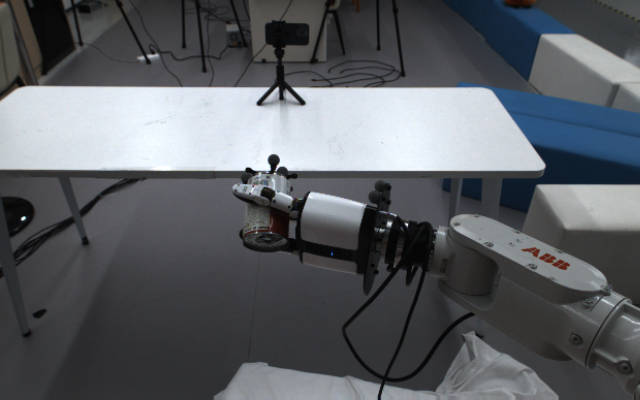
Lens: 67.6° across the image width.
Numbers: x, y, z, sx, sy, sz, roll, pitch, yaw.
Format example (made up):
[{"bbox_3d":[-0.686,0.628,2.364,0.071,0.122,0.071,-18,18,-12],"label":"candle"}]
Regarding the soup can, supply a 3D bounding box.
[{"bbox_3d":[-0.077,0.017,0.712,0.067,0.067,0.101,1,61,-2],"label":"soup can"}]
